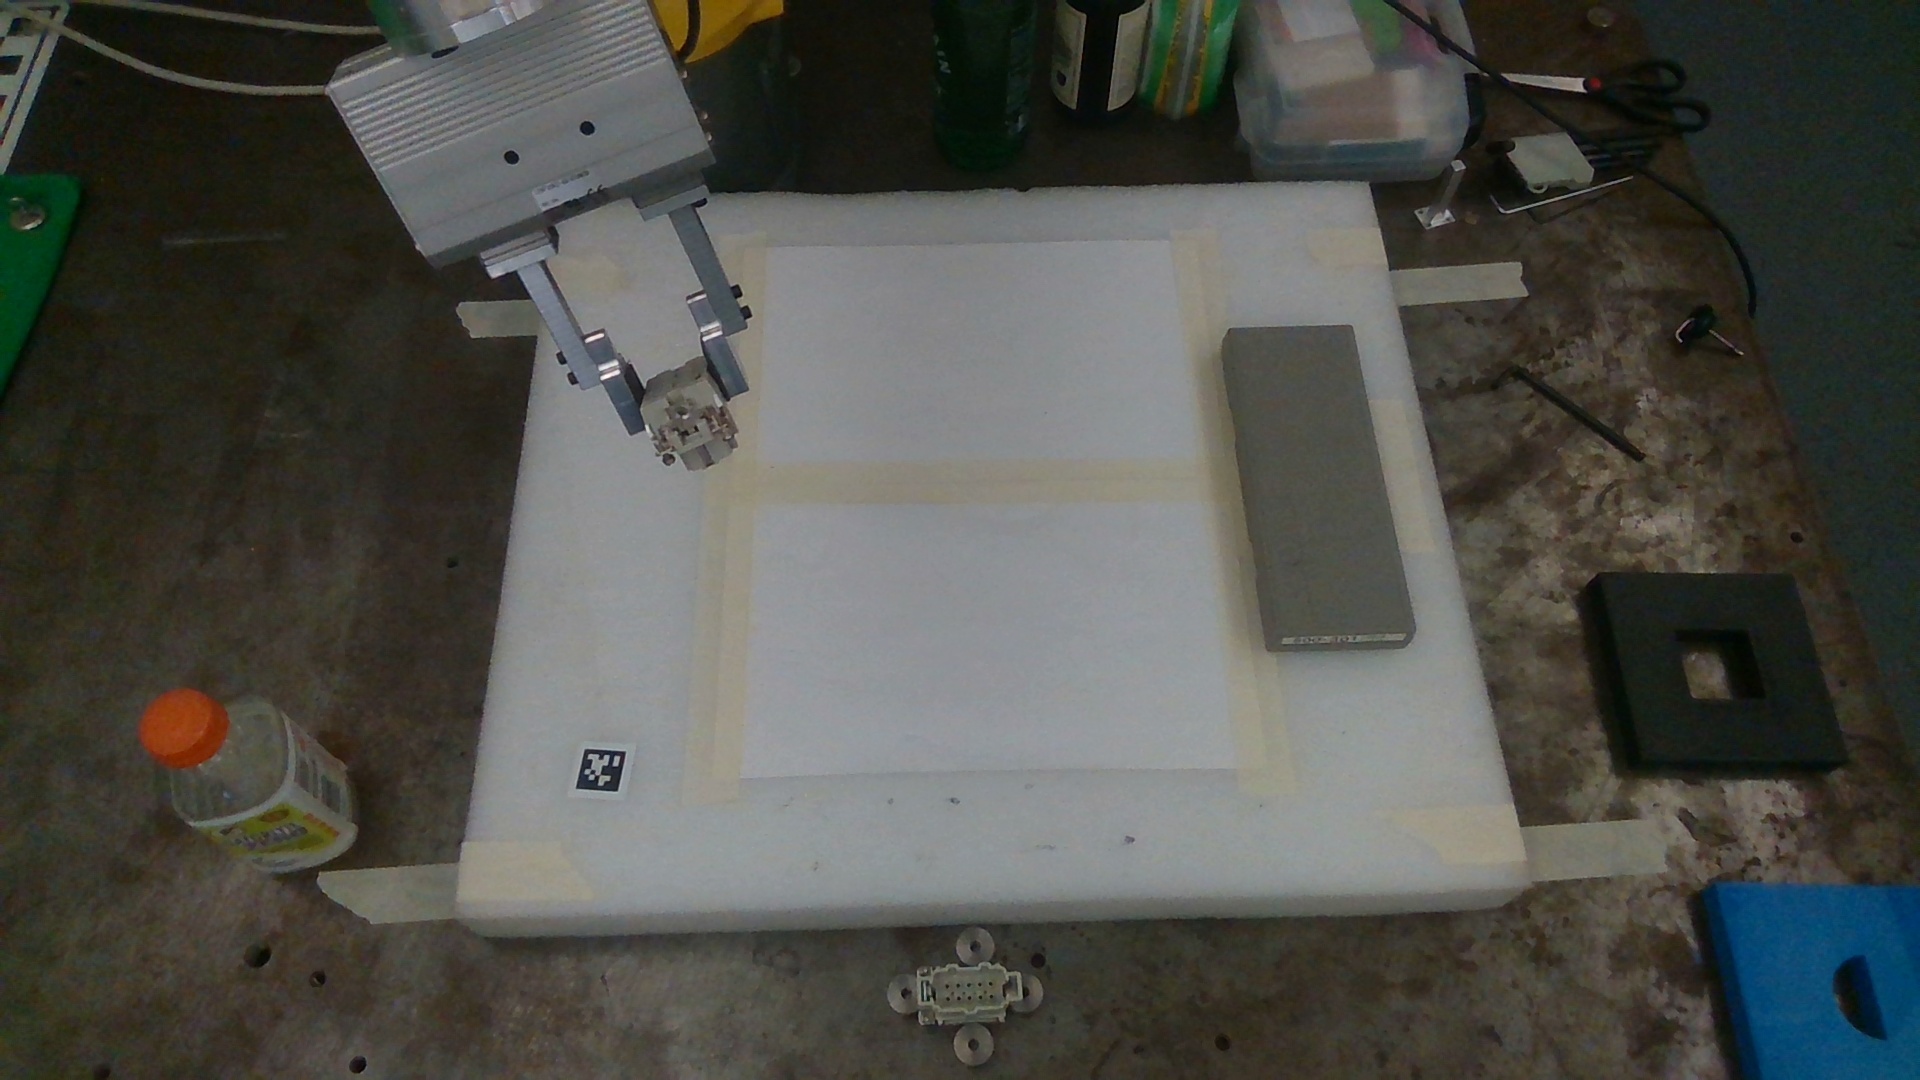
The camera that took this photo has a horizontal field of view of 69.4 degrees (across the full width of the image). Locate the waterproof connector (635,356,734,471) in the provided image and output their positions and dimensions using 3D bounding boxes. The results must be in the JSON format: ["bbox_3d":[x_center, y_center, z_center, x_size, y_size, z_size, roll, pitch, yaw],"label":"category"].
[{"bbox_3d":[-0.119,-0.055,0.608,0.037,0.038,0.069,-21,19,-3],"label":"waterproof connector"}]
